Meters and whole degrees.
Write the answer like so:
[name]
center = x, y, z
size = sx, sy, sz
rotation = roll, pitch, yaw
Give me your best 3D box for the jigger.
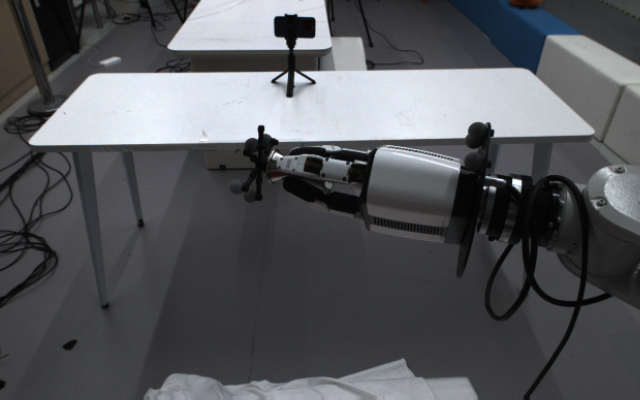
[jigger]
center = -0.014, -0.036, 0.538
size = 0.071, 0.043, 0.043
rotation = 9, 35, 16
